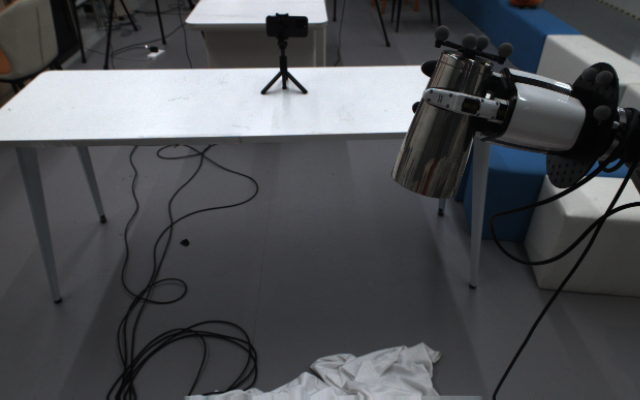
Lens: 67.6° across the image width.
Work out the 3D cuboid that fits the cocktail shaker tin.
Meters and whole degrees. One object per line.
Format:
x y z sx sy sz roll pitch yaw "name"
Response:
0.164 -0.102 0.625 0.093 0.170 0.093 12 25 -6 "cocktail shaker tin"
